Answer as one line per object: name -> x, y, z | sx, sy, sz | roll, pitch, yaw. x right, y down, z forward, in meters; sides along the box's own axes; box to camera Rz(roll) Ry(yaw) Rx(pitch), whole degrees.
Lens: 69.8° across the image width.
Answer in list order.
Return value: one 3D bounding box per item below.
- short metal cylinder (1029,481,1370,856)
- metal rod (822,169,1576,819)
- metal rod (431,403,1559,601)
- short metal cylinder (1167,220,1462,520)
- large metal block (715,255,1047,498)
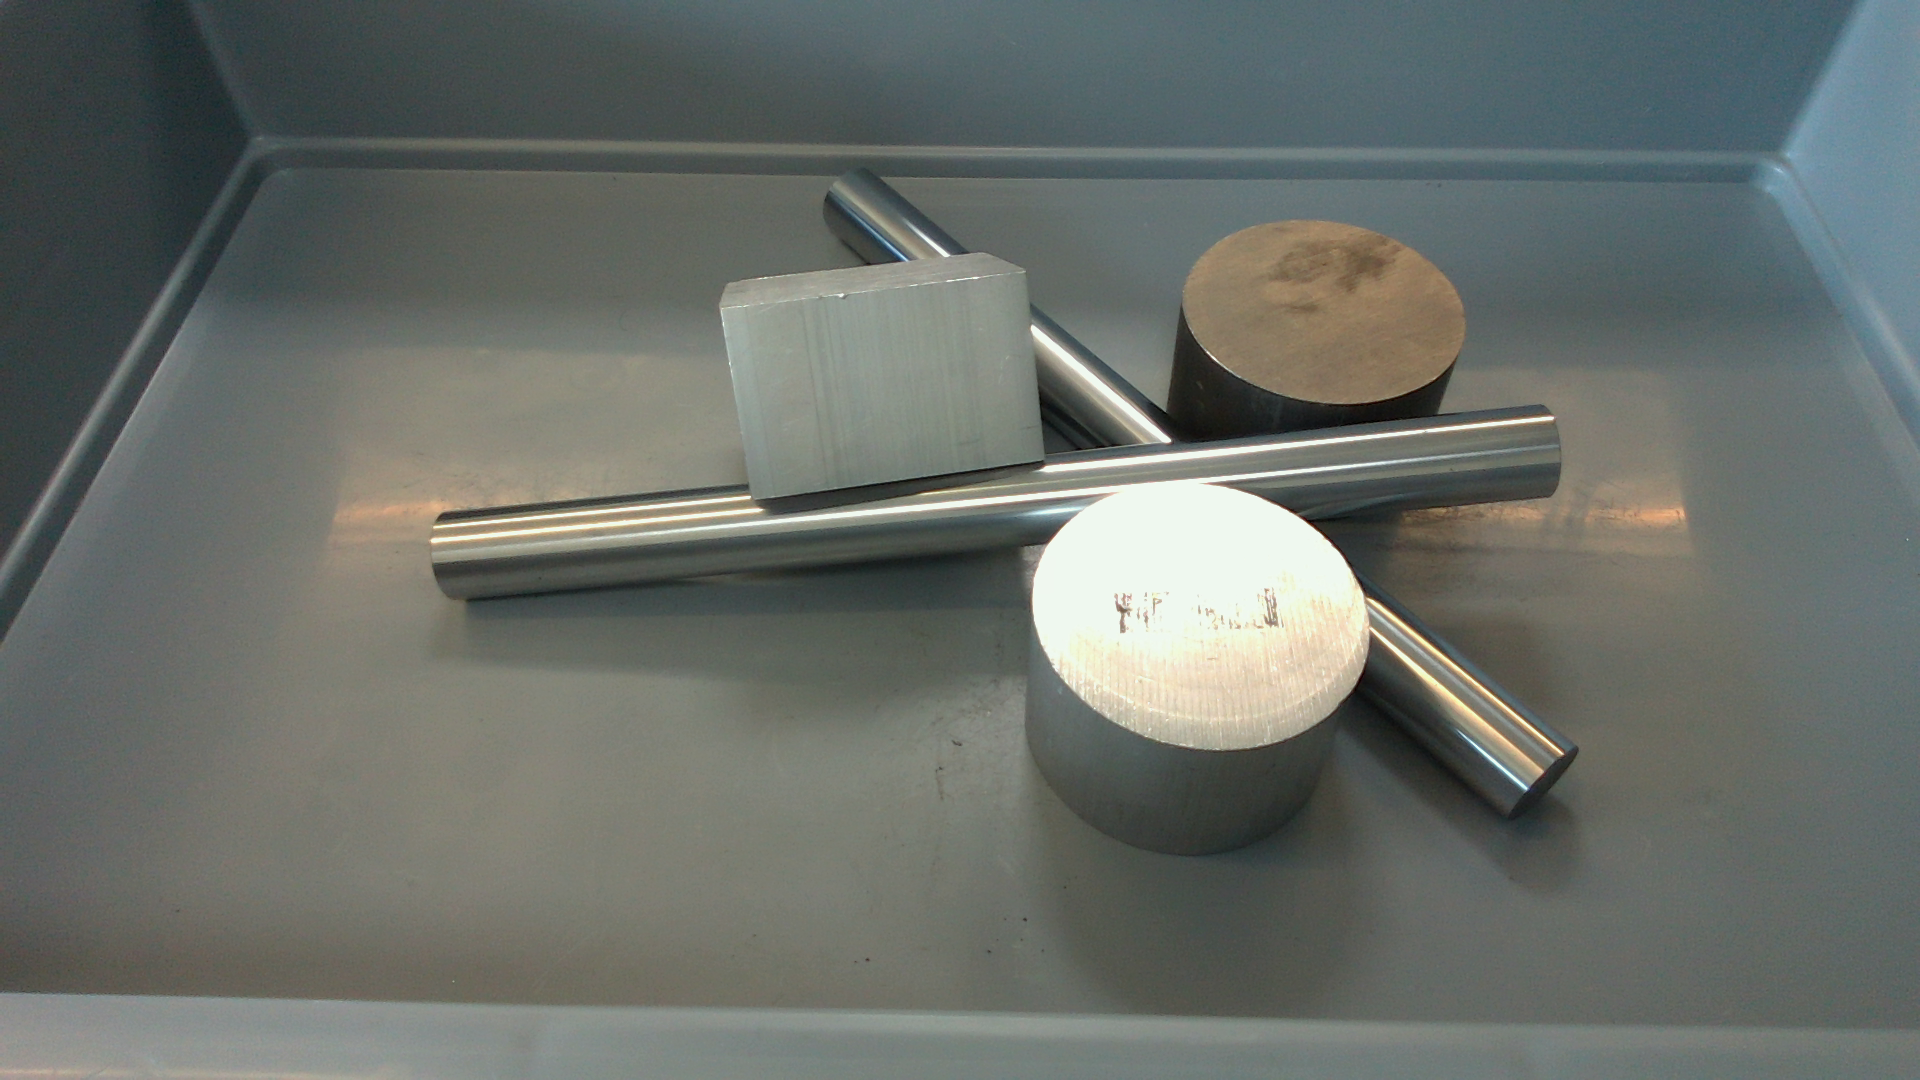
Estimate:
short metal cylinder -> 0.057, 0.032, 0.347 | 0.080, 0.050, 0.080 | 0, 50, 0
metal rod -> 0.052, -0.031, 0.416 | 0.025, 0.025, 0.299 | -31, 56, -23
metal rod -> 0.006, -0.010, 0.376 | 0.300, 0.025, 0.025 | -6, 50, 3
short metal cylinder -> 0.105, -0.052, 0.419 | 0.080, 0.050, 0.080 | 0, 50, 0
large metal block -> -0.024, -0.050, 0.393 | 0.080, 0.050, 0.080 | -8, 16, -6
